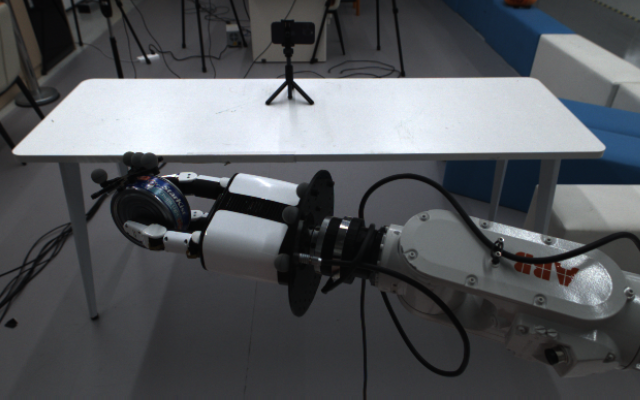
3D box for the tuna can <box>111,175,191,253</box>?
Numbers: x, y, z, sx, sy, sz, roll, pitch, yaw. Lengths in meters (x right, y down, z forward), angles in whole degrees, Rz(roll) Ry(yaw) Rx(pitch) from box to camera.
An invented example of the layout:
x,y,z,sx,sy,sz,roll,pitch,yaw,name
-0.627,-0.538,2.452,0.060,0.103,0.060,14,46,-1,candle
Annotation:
x,y,z,sx,sy,sz,roll,pitch,yaw,name
-0.191,0.020,0.553,0.085,0.085,0.034,11,34,13,tuna can
